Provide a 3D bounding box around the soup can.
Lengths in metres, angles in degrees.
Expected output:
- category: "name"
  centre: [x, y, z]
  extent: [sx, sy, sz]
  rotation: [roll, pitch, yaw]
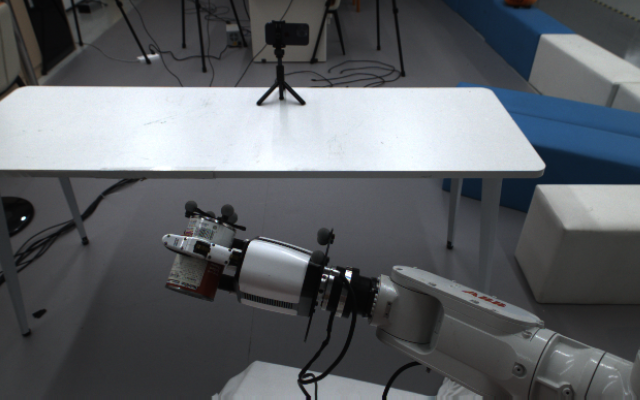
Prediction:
- category: "soup can"
  centre: [-0.160, 0.081, 0.658]
  extent: [0.067, 0.067, 0.101]
  rotation: [11, 72, 13]
